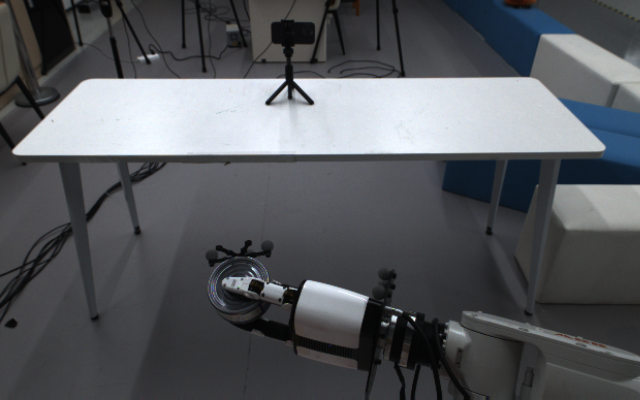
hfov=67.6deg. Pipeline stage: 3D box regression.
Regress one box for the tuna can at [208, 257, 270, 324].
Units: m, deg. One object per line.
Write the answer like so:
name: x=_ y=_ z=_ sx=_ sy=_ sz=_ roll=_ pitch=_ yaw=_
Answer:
tuna can: x=-0.102 y=0.126 z=0.648 sx=0.085 sy=0.034 sz=0.085 roll=-3 pitch=59 yaw=5
